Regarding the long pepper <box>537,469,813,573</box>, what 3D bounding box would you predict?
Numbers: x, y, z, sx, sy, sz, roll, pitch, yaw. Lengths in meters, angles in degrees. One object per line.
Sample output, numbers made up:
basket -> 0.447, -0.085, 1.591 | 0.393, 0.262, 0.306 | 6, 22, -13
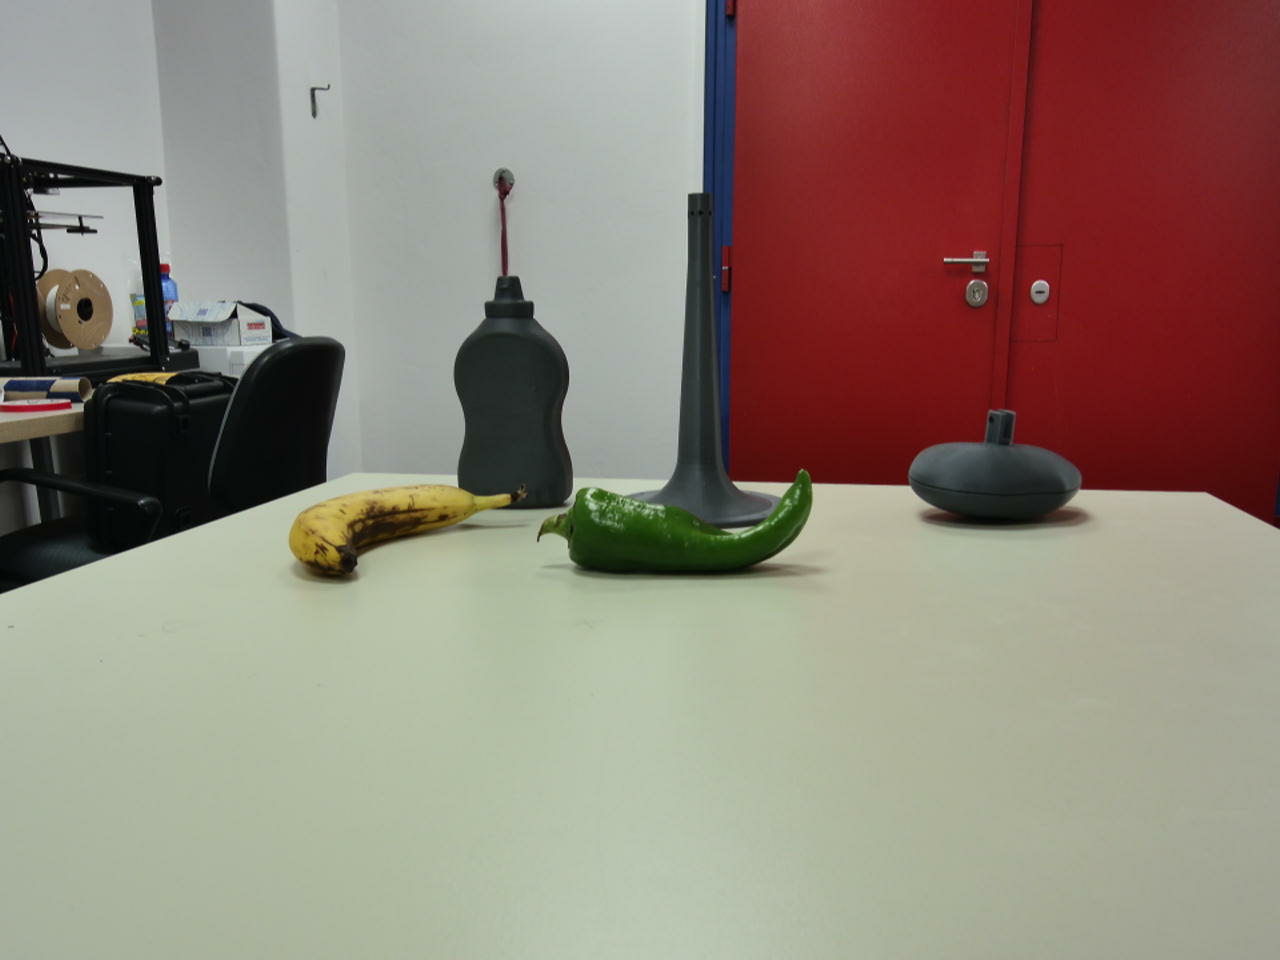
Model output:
long pepper -> 0.020, 0.025, 0.632 | 0.175, 0.065, 0.058 | 1, 8, 10
